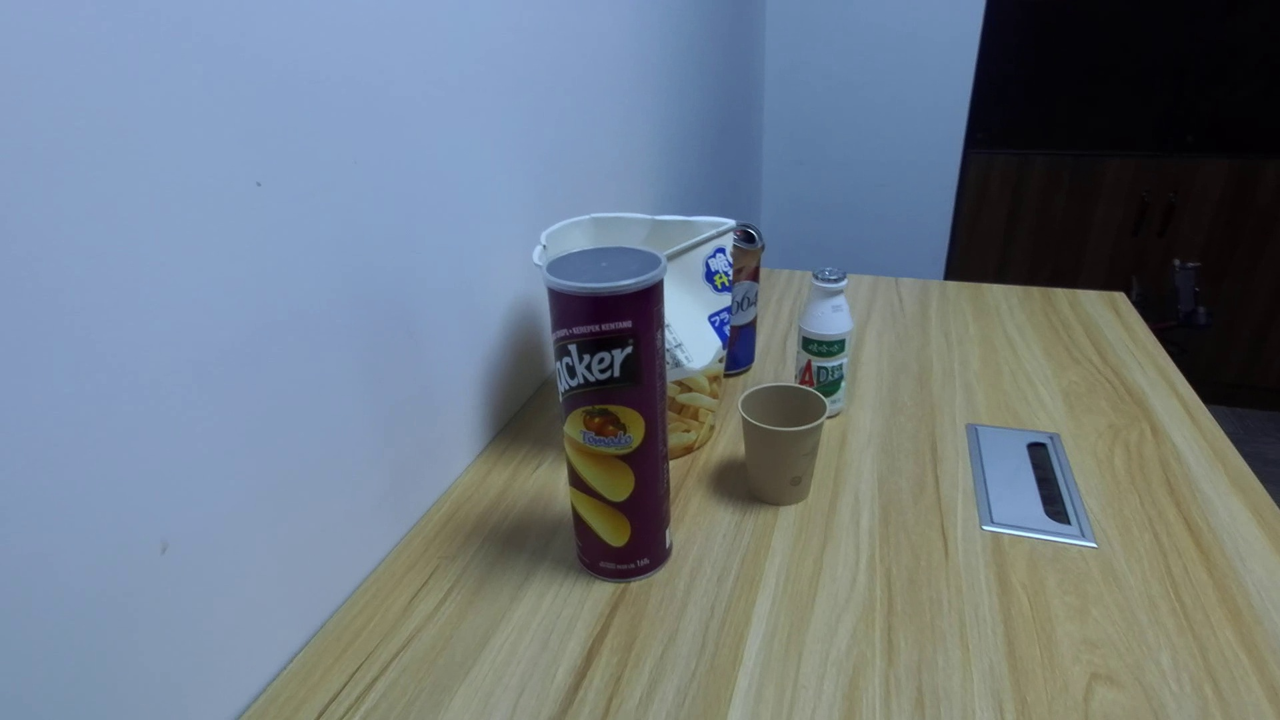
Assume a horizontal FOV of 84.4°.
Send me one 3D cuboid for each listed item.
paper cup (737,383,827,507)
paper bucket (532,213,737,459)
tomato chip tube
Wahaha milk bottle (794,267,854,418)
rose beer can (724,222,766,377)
[{"bbox_3d":[0.120,0.074,0.600,0.075,0.082,0.075,-2,26,1],"label":"paper cup"},{"bbox_3d":[-0.004,-0.019,0.663,0.168,0.202,0.163,4,29,18],"label":"paper bucket"},{"bbox_3d":[-0.016,0.044,0.503,0.078,0.234,0.078,-3,27,2],"label":"tomato chip tube"},{"bbox_3d":[0.181,-0.016,0.699,0.053,0.147,0.053,-3,27,2],"label":"Wahaha milk bottle"},{"bbox_3d":[0.100,-0.067,0.787,0.070,0.168,0.069,2,30,4],"label":"rose beer can"}]
